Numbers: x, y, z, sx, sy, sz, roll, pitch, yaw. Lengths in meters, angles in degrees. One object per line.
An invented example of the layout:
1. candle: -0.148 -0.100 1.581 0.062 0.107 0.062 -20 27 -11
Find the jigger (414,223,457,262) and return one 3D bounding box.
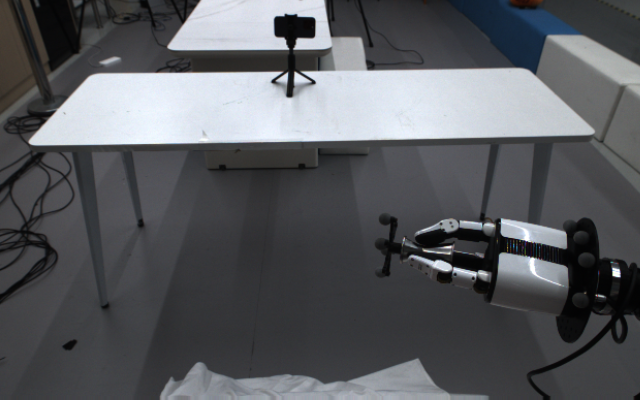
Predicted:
1. jigger: 0.153 0.070 0.661 0.071 0.043 0.043 8 35 15
